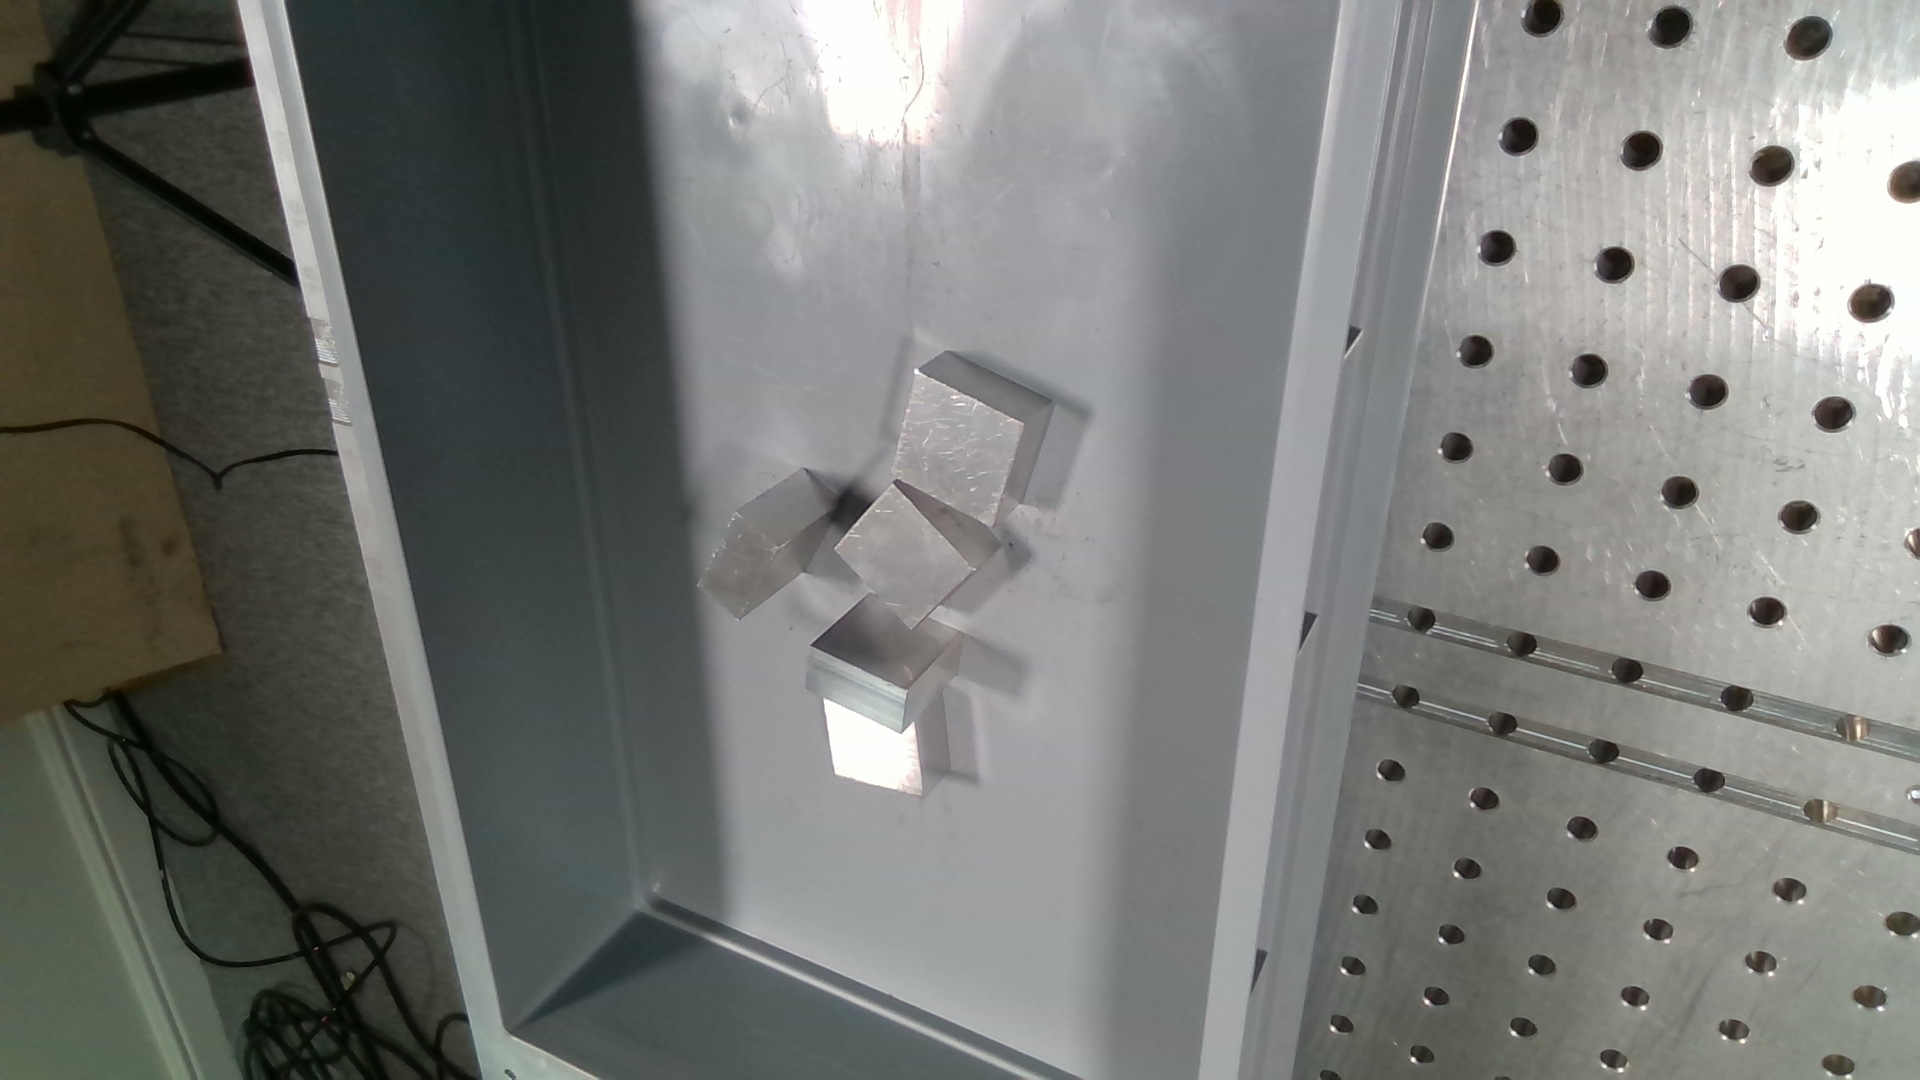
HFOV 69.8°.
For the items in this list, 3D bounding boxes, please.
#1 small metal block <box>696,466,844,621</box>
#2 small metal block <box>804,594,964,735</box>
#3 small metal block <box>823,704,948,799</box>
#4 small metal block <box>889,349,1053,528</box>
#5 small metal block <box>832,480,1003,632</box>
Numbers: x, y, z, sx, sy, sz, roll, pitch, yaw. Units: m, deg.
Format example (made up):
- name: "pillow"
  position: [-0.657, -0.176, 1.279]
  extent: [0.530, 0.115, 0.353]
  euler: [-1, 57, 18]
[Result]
- name: "small metal block"
  position: [-0.085, 0.001, 0.614]
  extent: [0.025, 0.050, 0.050]
  euler: [41, 130, 8]
- name: "small metal block"
  position: [-0.034, 0.054, 0.612]
  extent: [0.050, 0.050, 0.025]
  euler: [23, 125, 20]
- name: "small metal block"
  position: [-0.035, 0.089, 0.648]
  extent: [0.050, 0.025, 0.050]
  euler: [9, 119, 28]
- name: "small metal block"
  position: [0.004, -0.041, 0.553]
  extent: [0.050, 0.025, 0.050]
  euler: [28, 126, 16]
- name: "small metal block"
  position: [-0.019, 0.003, 0.590]
  extent: [0.050, 0.025, 0.050]
  euler: [46, 129, 2]
